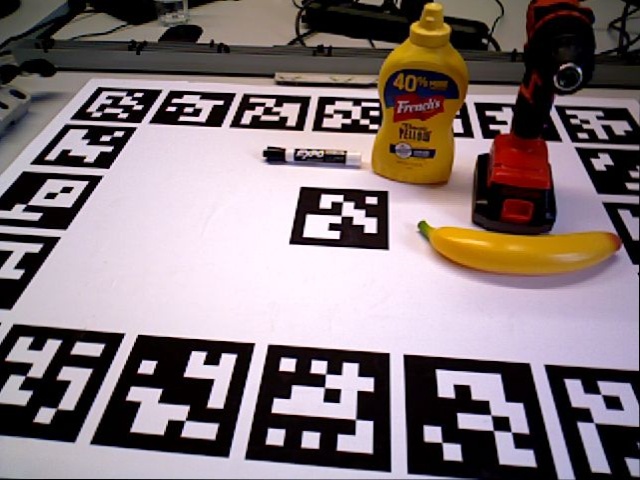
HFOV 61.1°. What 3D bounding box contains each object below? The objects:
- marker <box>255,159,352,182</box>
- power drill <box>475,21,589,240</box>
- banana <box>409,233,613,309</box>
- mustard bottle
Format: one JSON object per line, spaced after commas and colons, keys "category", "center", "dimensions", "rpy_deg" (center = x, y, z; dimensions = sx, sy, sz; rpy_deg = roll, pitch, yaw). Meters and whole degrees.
{"category": "marker", "center": [-0.021, -0.087, 0.671], "dimensions": [0.121, 0.020, 0.019], "rpy_deg": [6, 44, 7]}
{"category": "power drill", "center": [0.201, -0.096, 0.524], "dimensions": [0.057, 0.191, 0.180], "rpy_deg": [15, 43, 13]}
{"category": "banana", "center": [0.181, 0.034, 0.530], "dimensions": [0.197, 0.039, 0.072], "rpy_deg": [9, 46, 12]}
{"category": "mustard bottle", "center": [0.104, -0.135, 0.592], "dimensions": [0.096, 0.196, 0.057], "rpy_deg": [13, 44, 12]}
